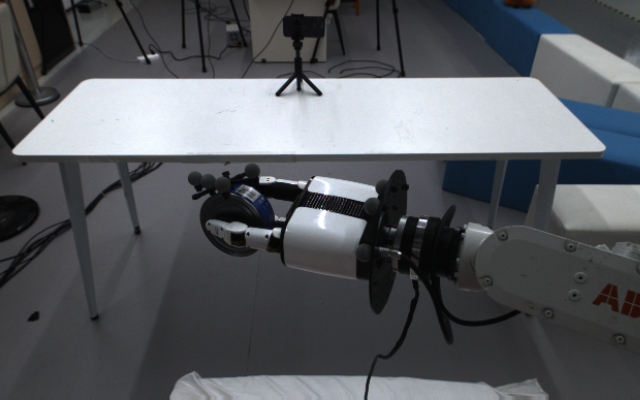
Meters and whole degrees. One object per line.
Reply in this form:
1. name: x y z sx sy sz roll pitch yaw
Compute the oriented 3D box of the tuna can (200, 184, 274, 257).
1. tuna can: -0.095 0.028 0.580 0.085 0.085 0.034 13 29 15
